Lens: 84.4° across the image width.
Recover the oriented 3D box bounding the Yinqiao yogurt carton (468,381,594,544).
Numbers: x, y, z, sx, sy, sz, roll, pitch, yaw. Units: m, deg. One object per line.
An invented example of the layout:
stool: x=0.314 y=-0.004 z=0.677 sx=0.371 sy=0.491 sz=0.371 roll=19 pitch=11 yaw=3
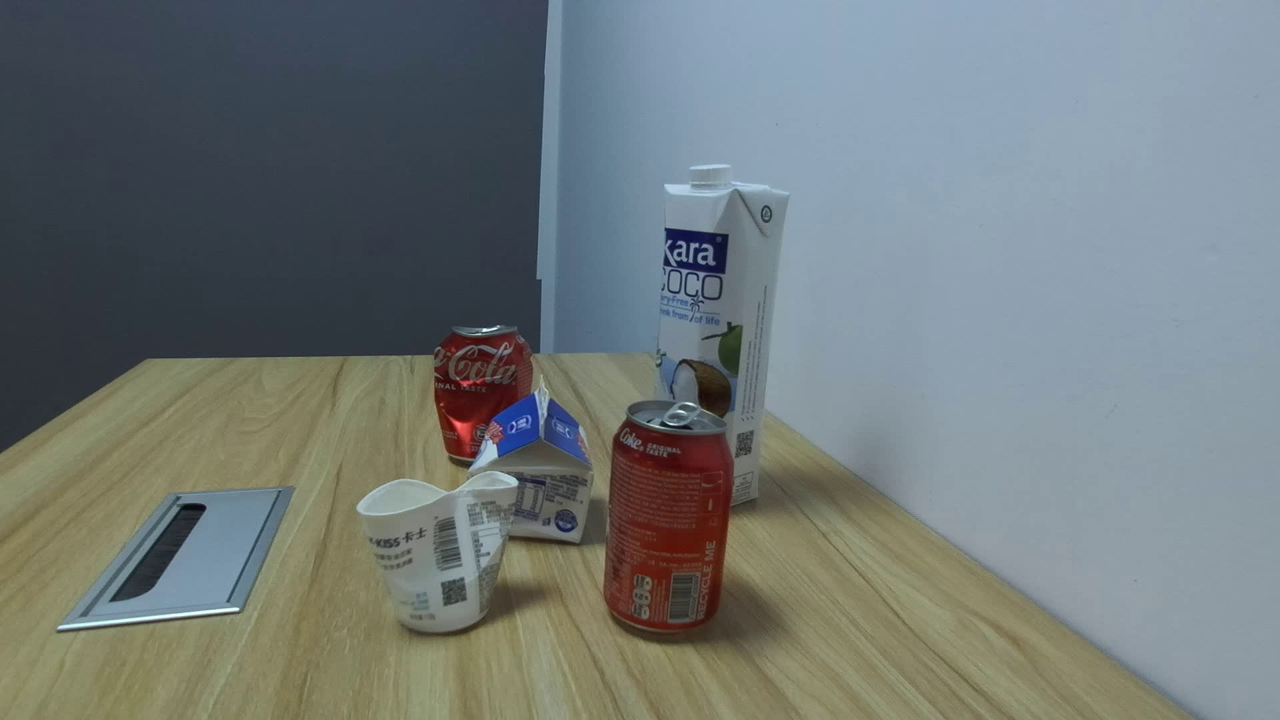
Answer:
Yinqiao yogurt carton: x=-0.073 y=0.065 z=0.480 sx=0.080 sy=0.097 sz=0.074 roll=7 pitch=15 yaw=-11

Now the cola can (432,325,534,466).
cola can: x=-0.128 y=0.027 z=0.593 sx=0.069 sy=0.112 sz=0.066 roll=10 pitch=15 yaw=25

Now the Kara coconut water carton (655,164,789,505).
Kara coconut water carton: x=0.053 y=-0.015 z=0.519 sx=0.076 sy=0.245 sz=0.076 roll=-8 pitch=17 yaw=-41

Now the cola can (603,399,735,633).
cola can: x=0.012 y=0.083 z=0.385 sx=0.066 sy=0.117 sz=0.072 roll=-3 pitch=16 yaw=-18

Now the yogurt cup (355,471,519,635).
yogurt cup: x=-0.106 y=0.101 z=0.379 sx=0.053 sy=0.071 sz=0.076 roll=12 pitch=17 yaw=26
